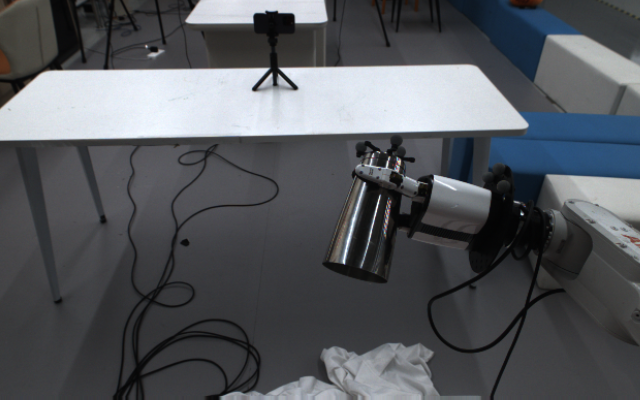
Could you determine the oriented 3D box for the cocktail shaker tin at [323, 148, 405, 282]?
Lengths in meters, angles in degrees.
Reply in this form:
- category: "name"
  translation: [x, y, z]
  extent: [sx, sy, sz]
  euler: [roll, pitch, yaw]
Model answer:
- category: "cocktail shaker tin"
  translation: [0.071, 0.019, 0.683]
  extent: [0.093, 0.093, 0.170]
  euler: [12, 72, 14]
